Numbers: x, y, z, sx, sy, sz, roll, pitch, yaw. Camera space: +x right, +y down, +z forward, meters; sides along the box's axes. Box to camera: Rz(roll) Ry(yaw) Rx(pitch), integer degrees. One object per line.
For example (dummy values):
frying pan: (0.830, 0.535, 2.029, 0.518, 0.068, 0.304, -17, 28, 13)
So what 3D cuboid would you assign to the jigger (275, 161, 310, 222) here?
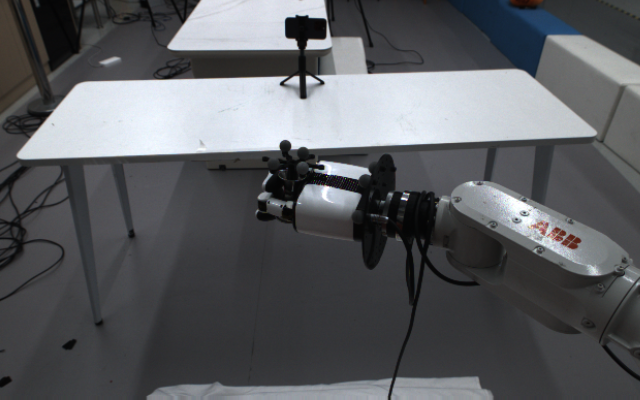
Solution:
jigger: (-0.041, -0.006, 0.699, 0.043, 0.071, 0.043, 6, 26, -3)
